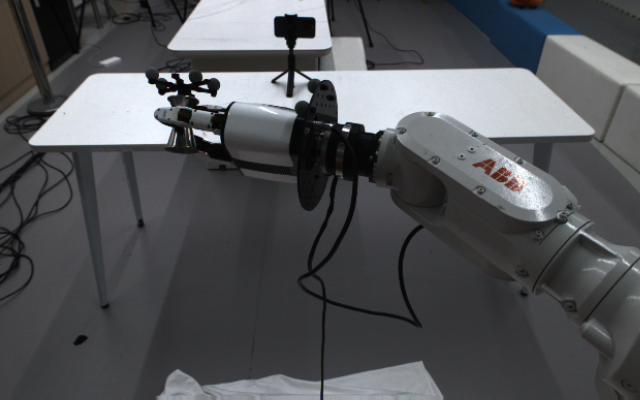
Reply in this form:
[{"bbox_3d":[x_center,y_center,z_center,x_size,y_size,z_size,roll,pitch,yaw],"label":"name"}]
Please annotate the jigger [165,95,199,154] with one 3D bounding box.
[{"bbox_3d":[-0.180,-0.097,0.630,0.043,0.071,0.043,0,-4,0],"label":"jigger"}]
